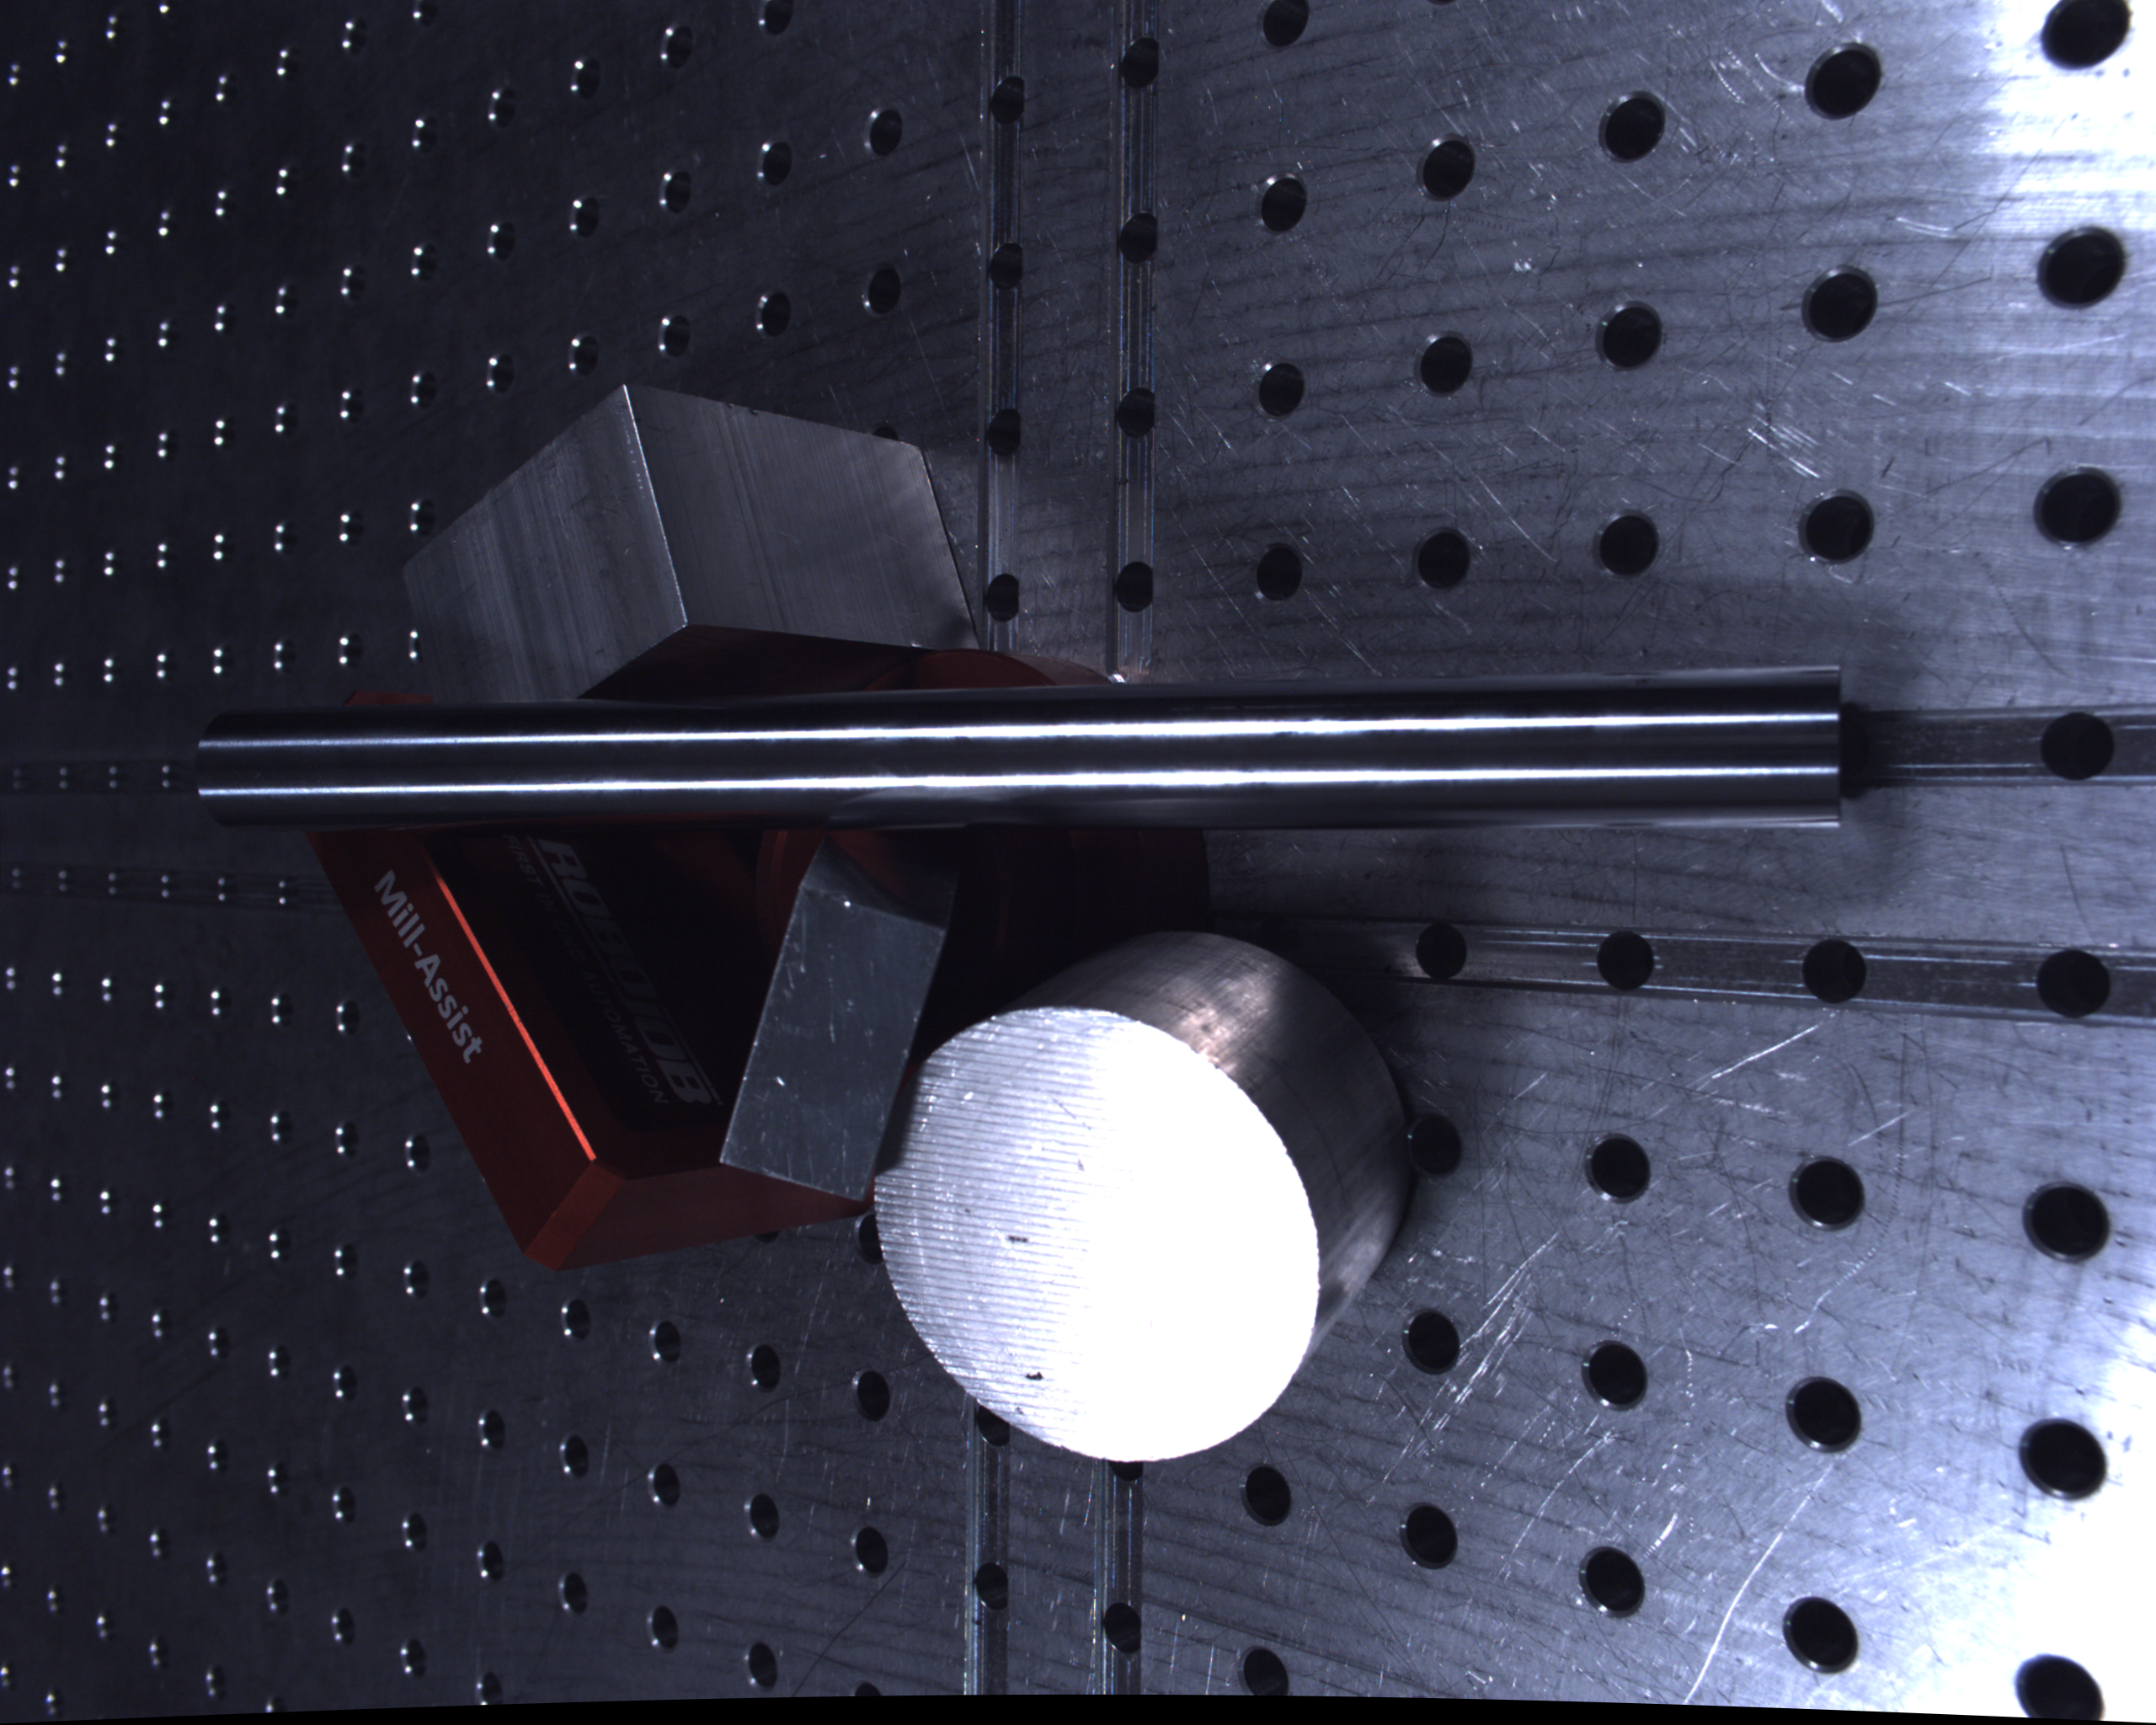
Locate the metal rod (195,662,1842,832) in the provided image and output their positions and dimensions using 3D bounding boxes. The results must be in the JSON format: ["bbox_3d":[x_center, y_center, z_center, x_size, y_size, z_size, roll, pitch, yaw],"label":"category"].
[{"bbox_3d":[-0.026,-0.018,0.367,0.301,0.025,0.025,0,90,20],"label":"metal rod"}]

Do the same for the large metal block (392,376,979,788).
[{"bbox_3d":[-0.082,-0.053,0.436,0.080,0.081,0.050,-27,74,36],"label":"large metal block"}]

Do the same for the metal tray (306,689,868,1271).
[{"bbox_3d":[-0.100,0.020,0.446,0.030,0.091,0.130,-51,61,28],"label":"metal tray"}]

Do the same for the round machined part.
[{"bbox_3d":[-0.024,0.006,0.420,0.098,0.042,0.097,0,90,39],"label":"round machined part"}]

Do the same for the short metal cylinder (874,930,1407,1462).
[{"bbox_3d":[0.012,0.057,0.366,0.080,0.050,0.079,6,105,23],"label":"short metal cylinder"}]

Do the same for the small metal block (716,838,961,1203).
[{"bbox_3d":[-0.041,0.025,0.368,0.025,0.050,0.050,17,102,-5],"label":"small metal block"}]
